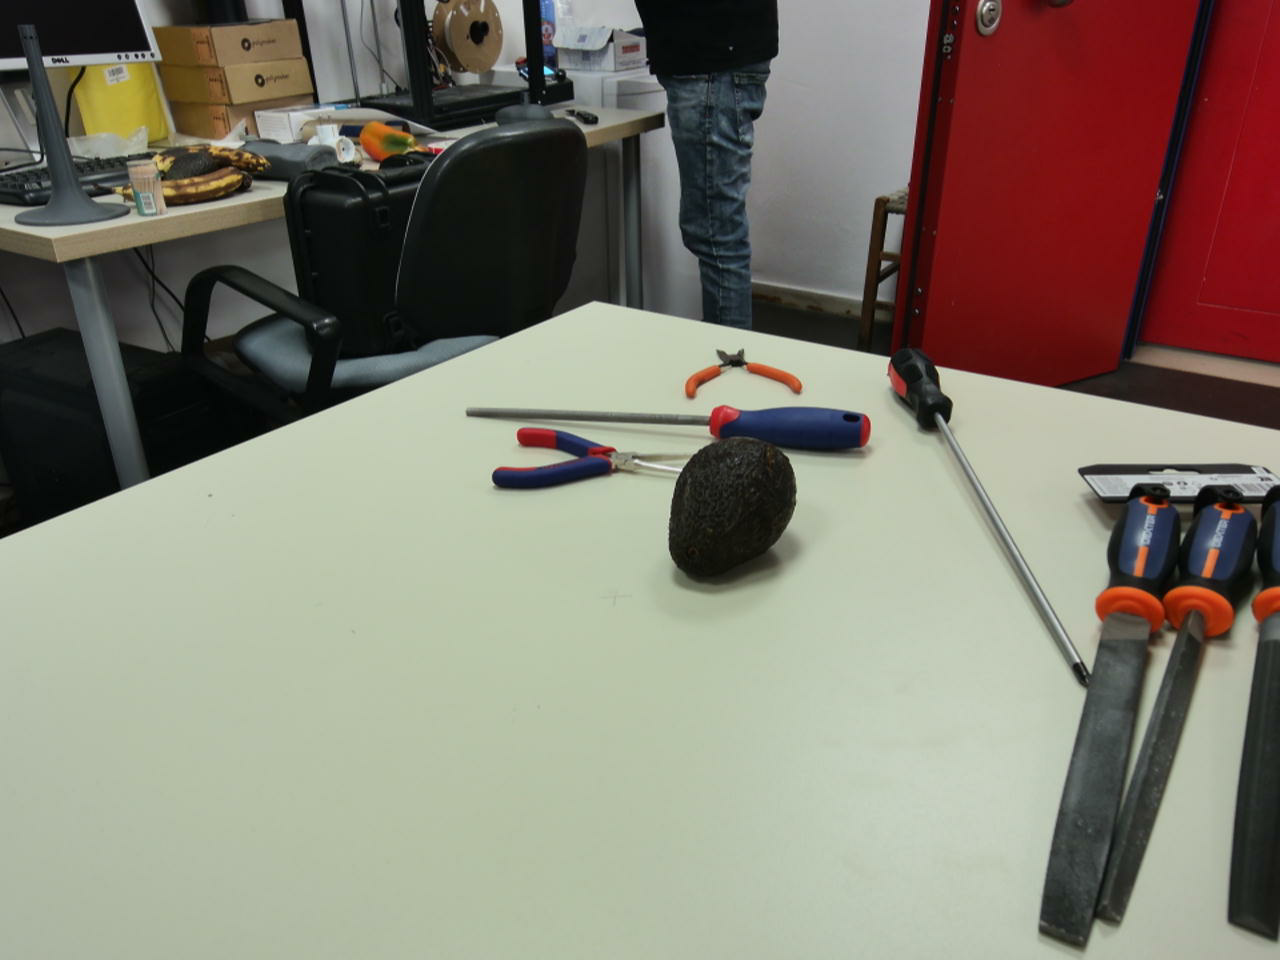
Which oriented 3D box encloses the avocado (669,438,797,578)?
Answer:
[{"bbox_3d":[0.051,0.012,0.586,0.090,0.069,0.070,-14,28,-26],"label":"avocado"}]
